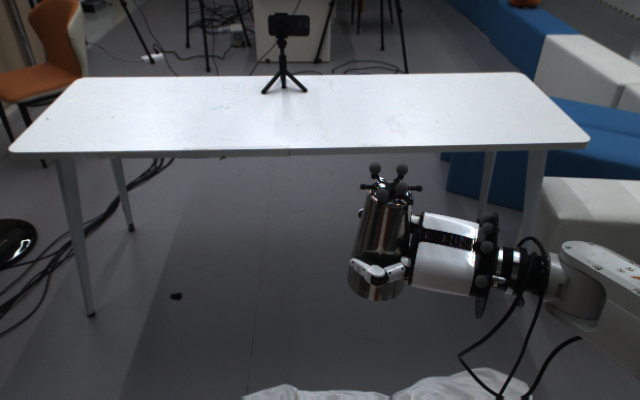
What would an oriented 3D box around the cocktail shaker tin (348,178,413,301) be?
[{"bbox_3d":[0.097,0.058,0.733,0.093,0.170,0.093,3,34,-2],"label":"cocktail shaker tin"}]
